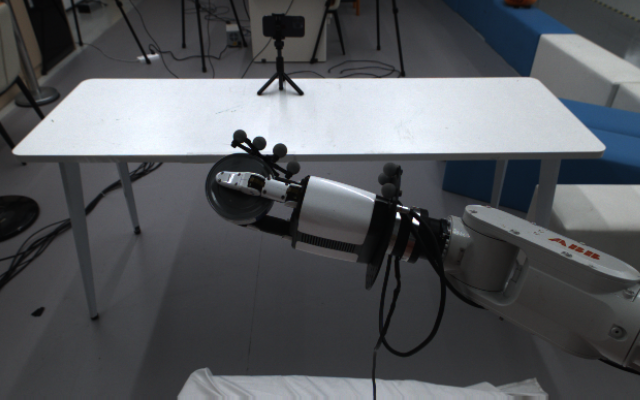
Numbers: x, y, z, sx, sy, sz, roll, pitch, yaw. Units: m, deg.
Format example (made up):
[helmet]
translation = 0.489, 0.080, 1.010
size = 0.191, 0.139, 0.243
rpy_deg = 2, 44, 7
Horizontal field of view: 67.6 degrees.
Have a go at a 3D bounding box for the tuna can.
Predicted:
[tuna can]
translation = -0.097, -0.013, 0.605
size = 0.085, 0.034, 0.085
rpy_deg = 1, 76, -4
